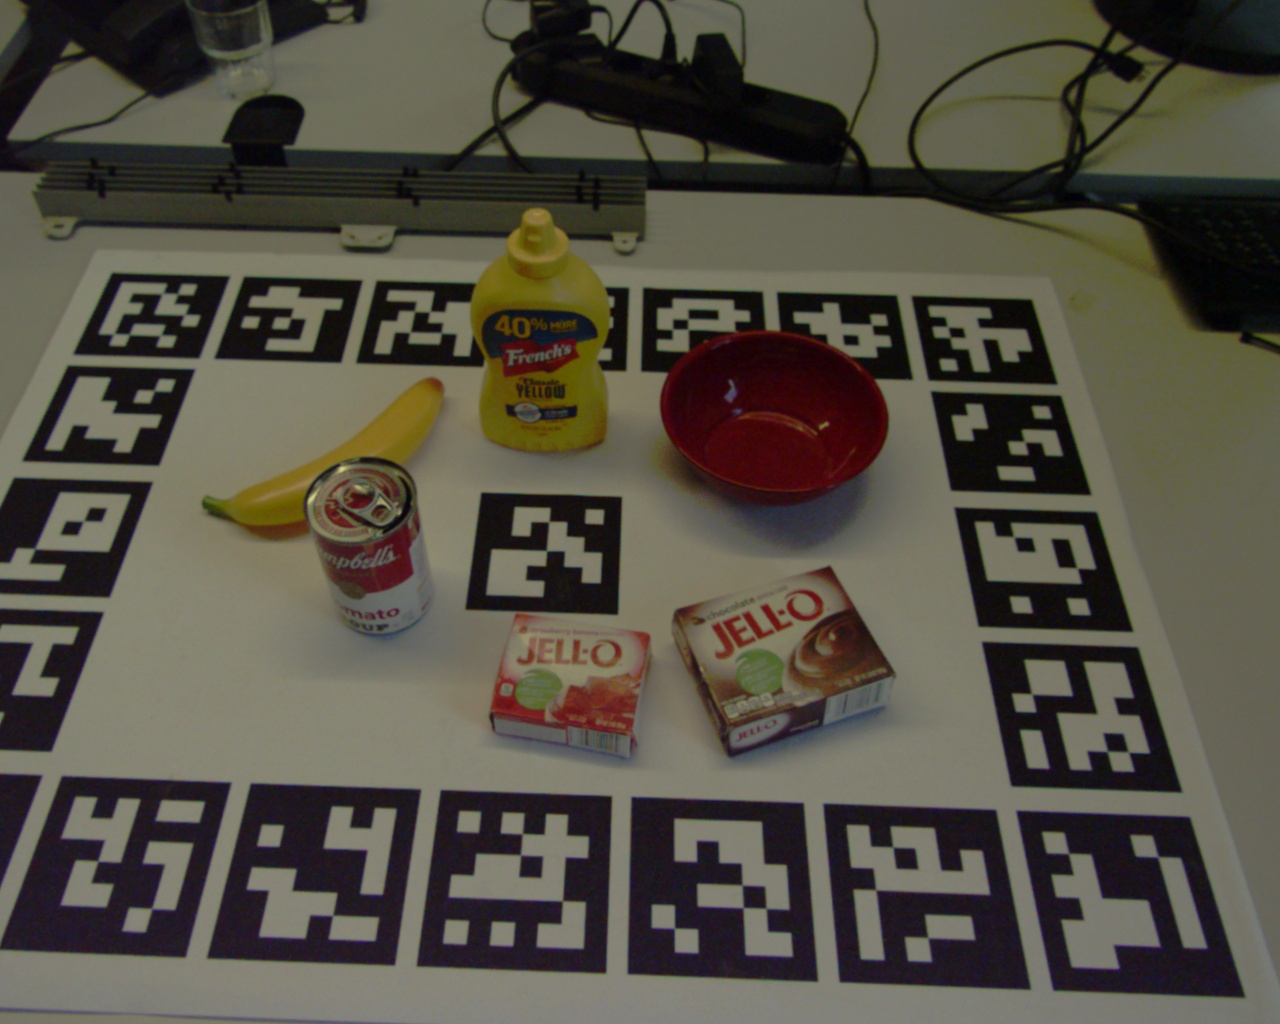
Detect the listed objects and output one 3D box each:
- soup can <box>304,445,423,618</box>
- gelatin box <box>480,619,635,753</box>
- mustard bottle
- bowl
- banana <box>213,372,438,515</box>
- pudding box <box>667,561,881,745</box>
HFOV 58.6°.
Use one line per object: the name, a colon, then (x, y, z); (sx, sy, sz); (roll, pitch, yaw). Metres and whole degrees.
soup can: (-0.181, 0.015, 0.756); (0.068, 0.102, 0.068); (2, 49, -3)
gelatin box: (-0.052, 0.111, 0.737); (0.089, 0.030, 0.073); (7, 54, 6)
mustard bottle: (-0.070, -0.130, 0.815); (0.096, 0.191, 0.058); (3, 48, 0)
bowl: (0.097, -0.058, 0.865); (0.162, 0.055, 0.162); (-1, 50, 0)
banana: (-0.221, -0.049, 0.860); (0.075, 0.038, 0.196); (31, 56, 34)
pudding box: (0.085, 0.092, 0.749); (0.113, 0.038, 0.091); (-17, 59, -14)
